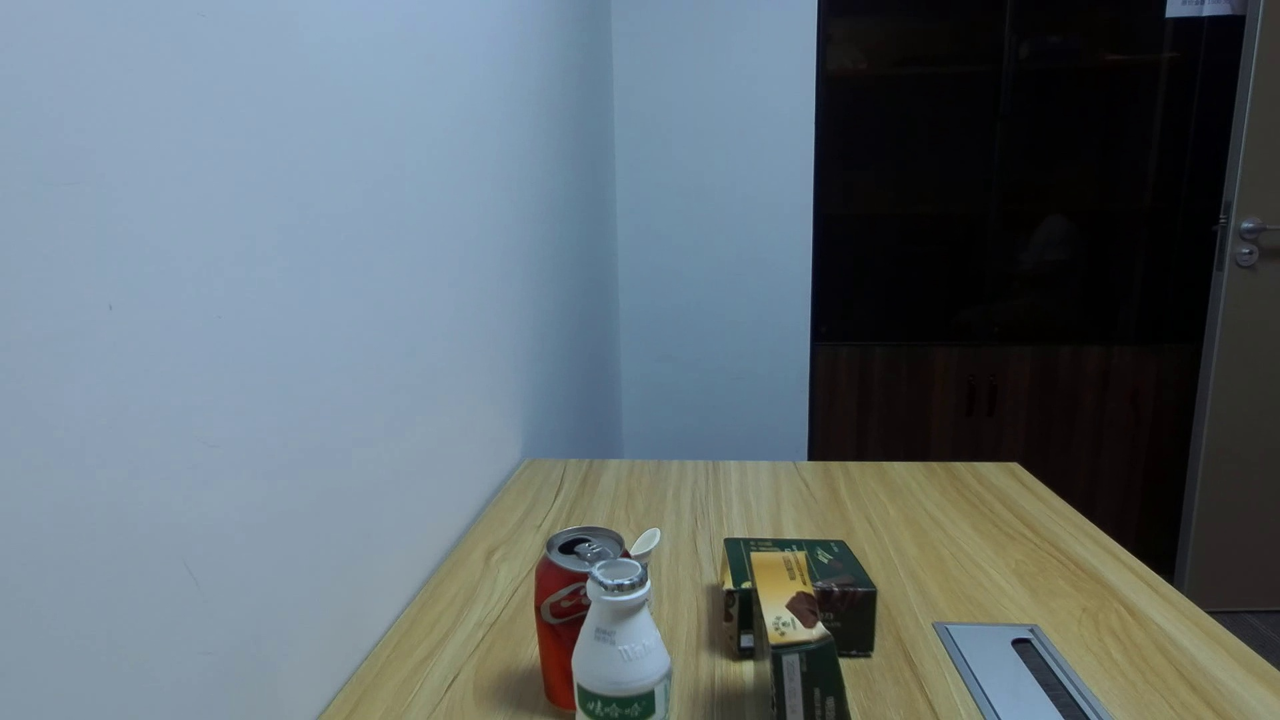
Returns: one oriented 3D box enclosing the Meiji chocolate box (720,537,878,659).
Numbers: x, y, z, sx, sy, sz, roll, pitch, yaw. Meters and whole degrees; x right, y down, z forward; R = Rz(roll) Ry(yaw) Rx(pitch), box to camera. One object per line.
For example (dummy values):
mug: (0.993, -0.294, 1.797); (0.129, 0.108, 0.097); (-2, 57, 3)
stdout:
Meiji chocolate box: (0.126, 0.190, 0.582); (0.122, 0.058, 0.116); (0, 8, 2)

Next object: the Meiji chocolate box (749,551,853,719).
Meiji chocolate box: (0.096, 0.188, 0.430); (0.051, 0.117, 0.117); (-9, 10, 3)

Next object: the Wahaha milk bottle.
Wahaha milk bottle: (-0.010, 0.180, 0.386); (0.056, 0.147, 0.056); (-1, 13, 1)

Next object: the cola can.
cola can: (-0.033, 0.178, 0.491); (0.072, 0.117, 0.065); (0, 10, -4)
